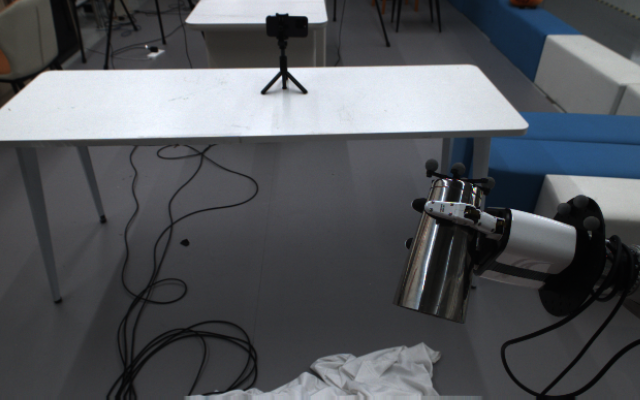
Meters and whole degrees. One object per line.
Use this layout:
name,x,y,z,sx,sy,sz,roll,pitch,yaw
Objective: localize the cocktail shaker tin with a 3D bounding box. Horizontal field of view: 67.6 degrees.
cocktail shaker tin,0.162,0.060,0.626,0.093,0.093,0.170,13,79,15
